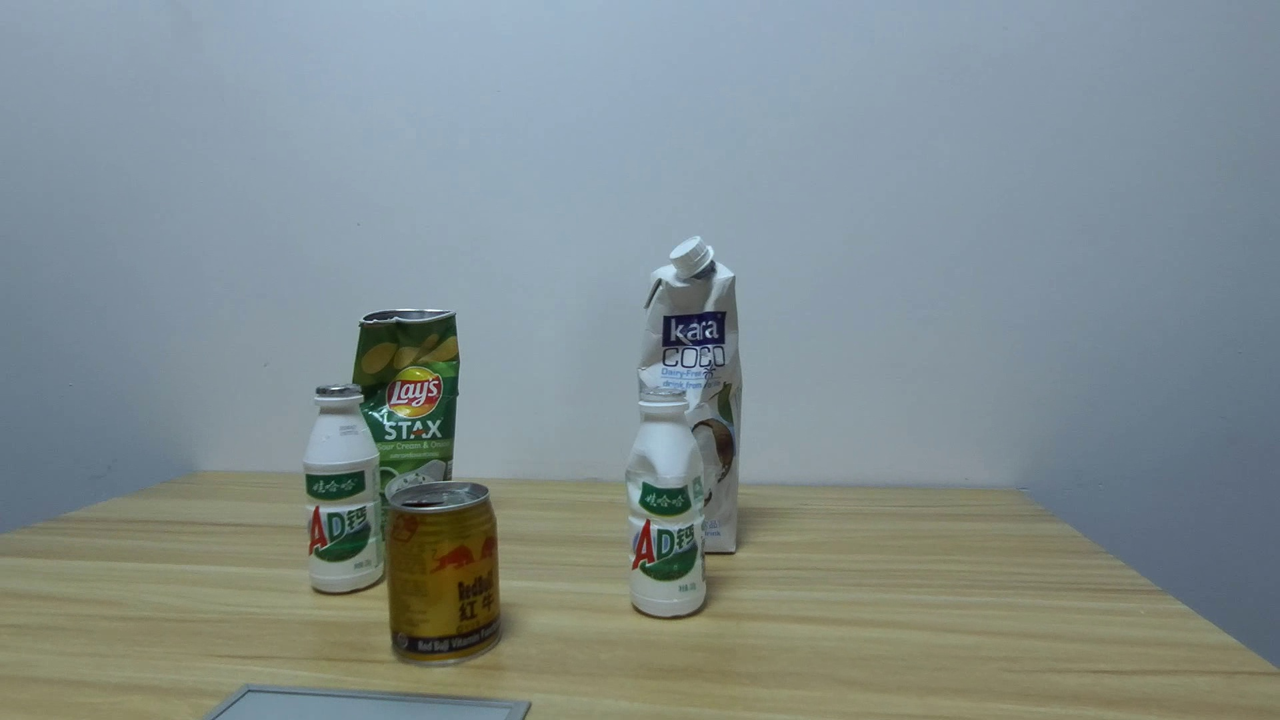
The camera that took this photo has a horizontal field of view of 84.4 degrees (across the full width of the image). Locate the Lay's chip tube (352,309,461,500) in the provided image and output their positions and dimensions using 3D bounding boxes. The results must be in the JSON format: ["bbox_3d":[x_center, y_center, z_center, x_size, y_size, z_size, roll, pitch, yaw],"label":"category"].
[{"bbox_3d":[-0.211,0.056,0.642,0.069,0.201,0.077,4,10,35],"label":"Lay's chip tube"}]

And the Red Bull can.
[{"bbox_3d":[-0.120,0.127,0.432,0.067,0.093,0.067,0,6,0],"label":"Red Bull can"}]

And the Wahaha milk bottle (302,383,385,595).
[{"bbox_3d":[-0.218,0.093,0.519,0.053,0.147,0.053,-3,3,0],"label":"Wahaha milk bottle"}]

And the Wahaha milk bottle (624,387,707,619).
[{"bbox_3d":[0.017,0.093,0.474,0.055,0.149,0.055,-2,7,0],"label":"Wahaha milk bottle"}]
